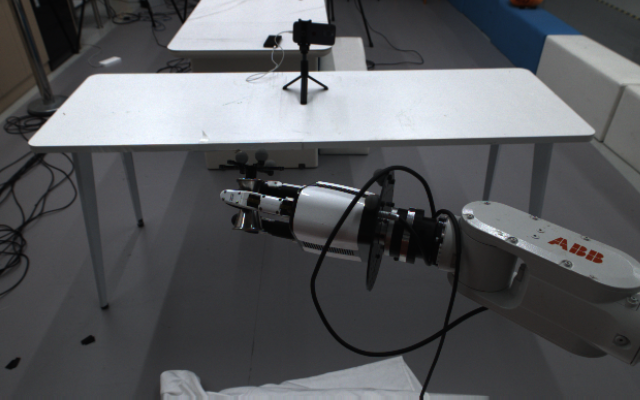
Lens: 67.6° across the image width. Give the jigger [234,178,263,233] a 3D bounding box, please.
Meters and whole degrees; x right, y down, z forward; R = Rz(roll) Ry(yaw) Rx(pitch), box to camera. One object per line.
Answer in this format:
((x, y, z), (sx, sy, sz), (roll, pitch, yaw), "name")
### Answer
((-0.095, 0.007, 0.656), (0.043, 0.071, 0.043), (2, -6, 0), "jigger")
